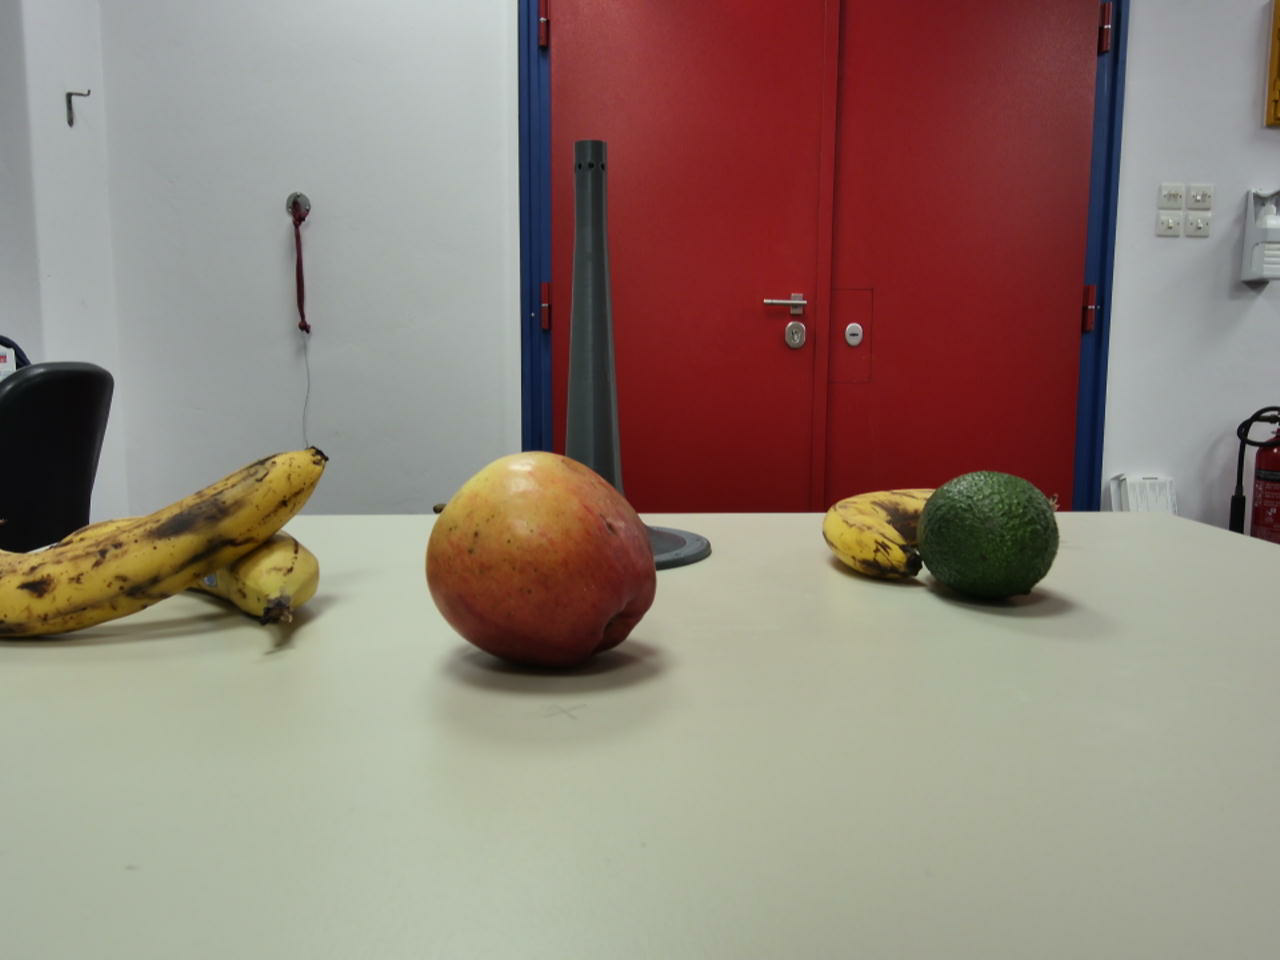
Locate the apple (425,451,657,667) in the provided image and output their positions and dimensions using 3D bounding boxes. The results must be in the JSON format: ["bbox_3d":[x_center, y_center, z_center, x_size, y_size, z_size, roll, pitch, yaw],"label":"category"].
[{"bbox_3d":[-0.041,0.032,0.407,0.086,0.084,0.093,-4,5,-36],"label":"apple"}]
